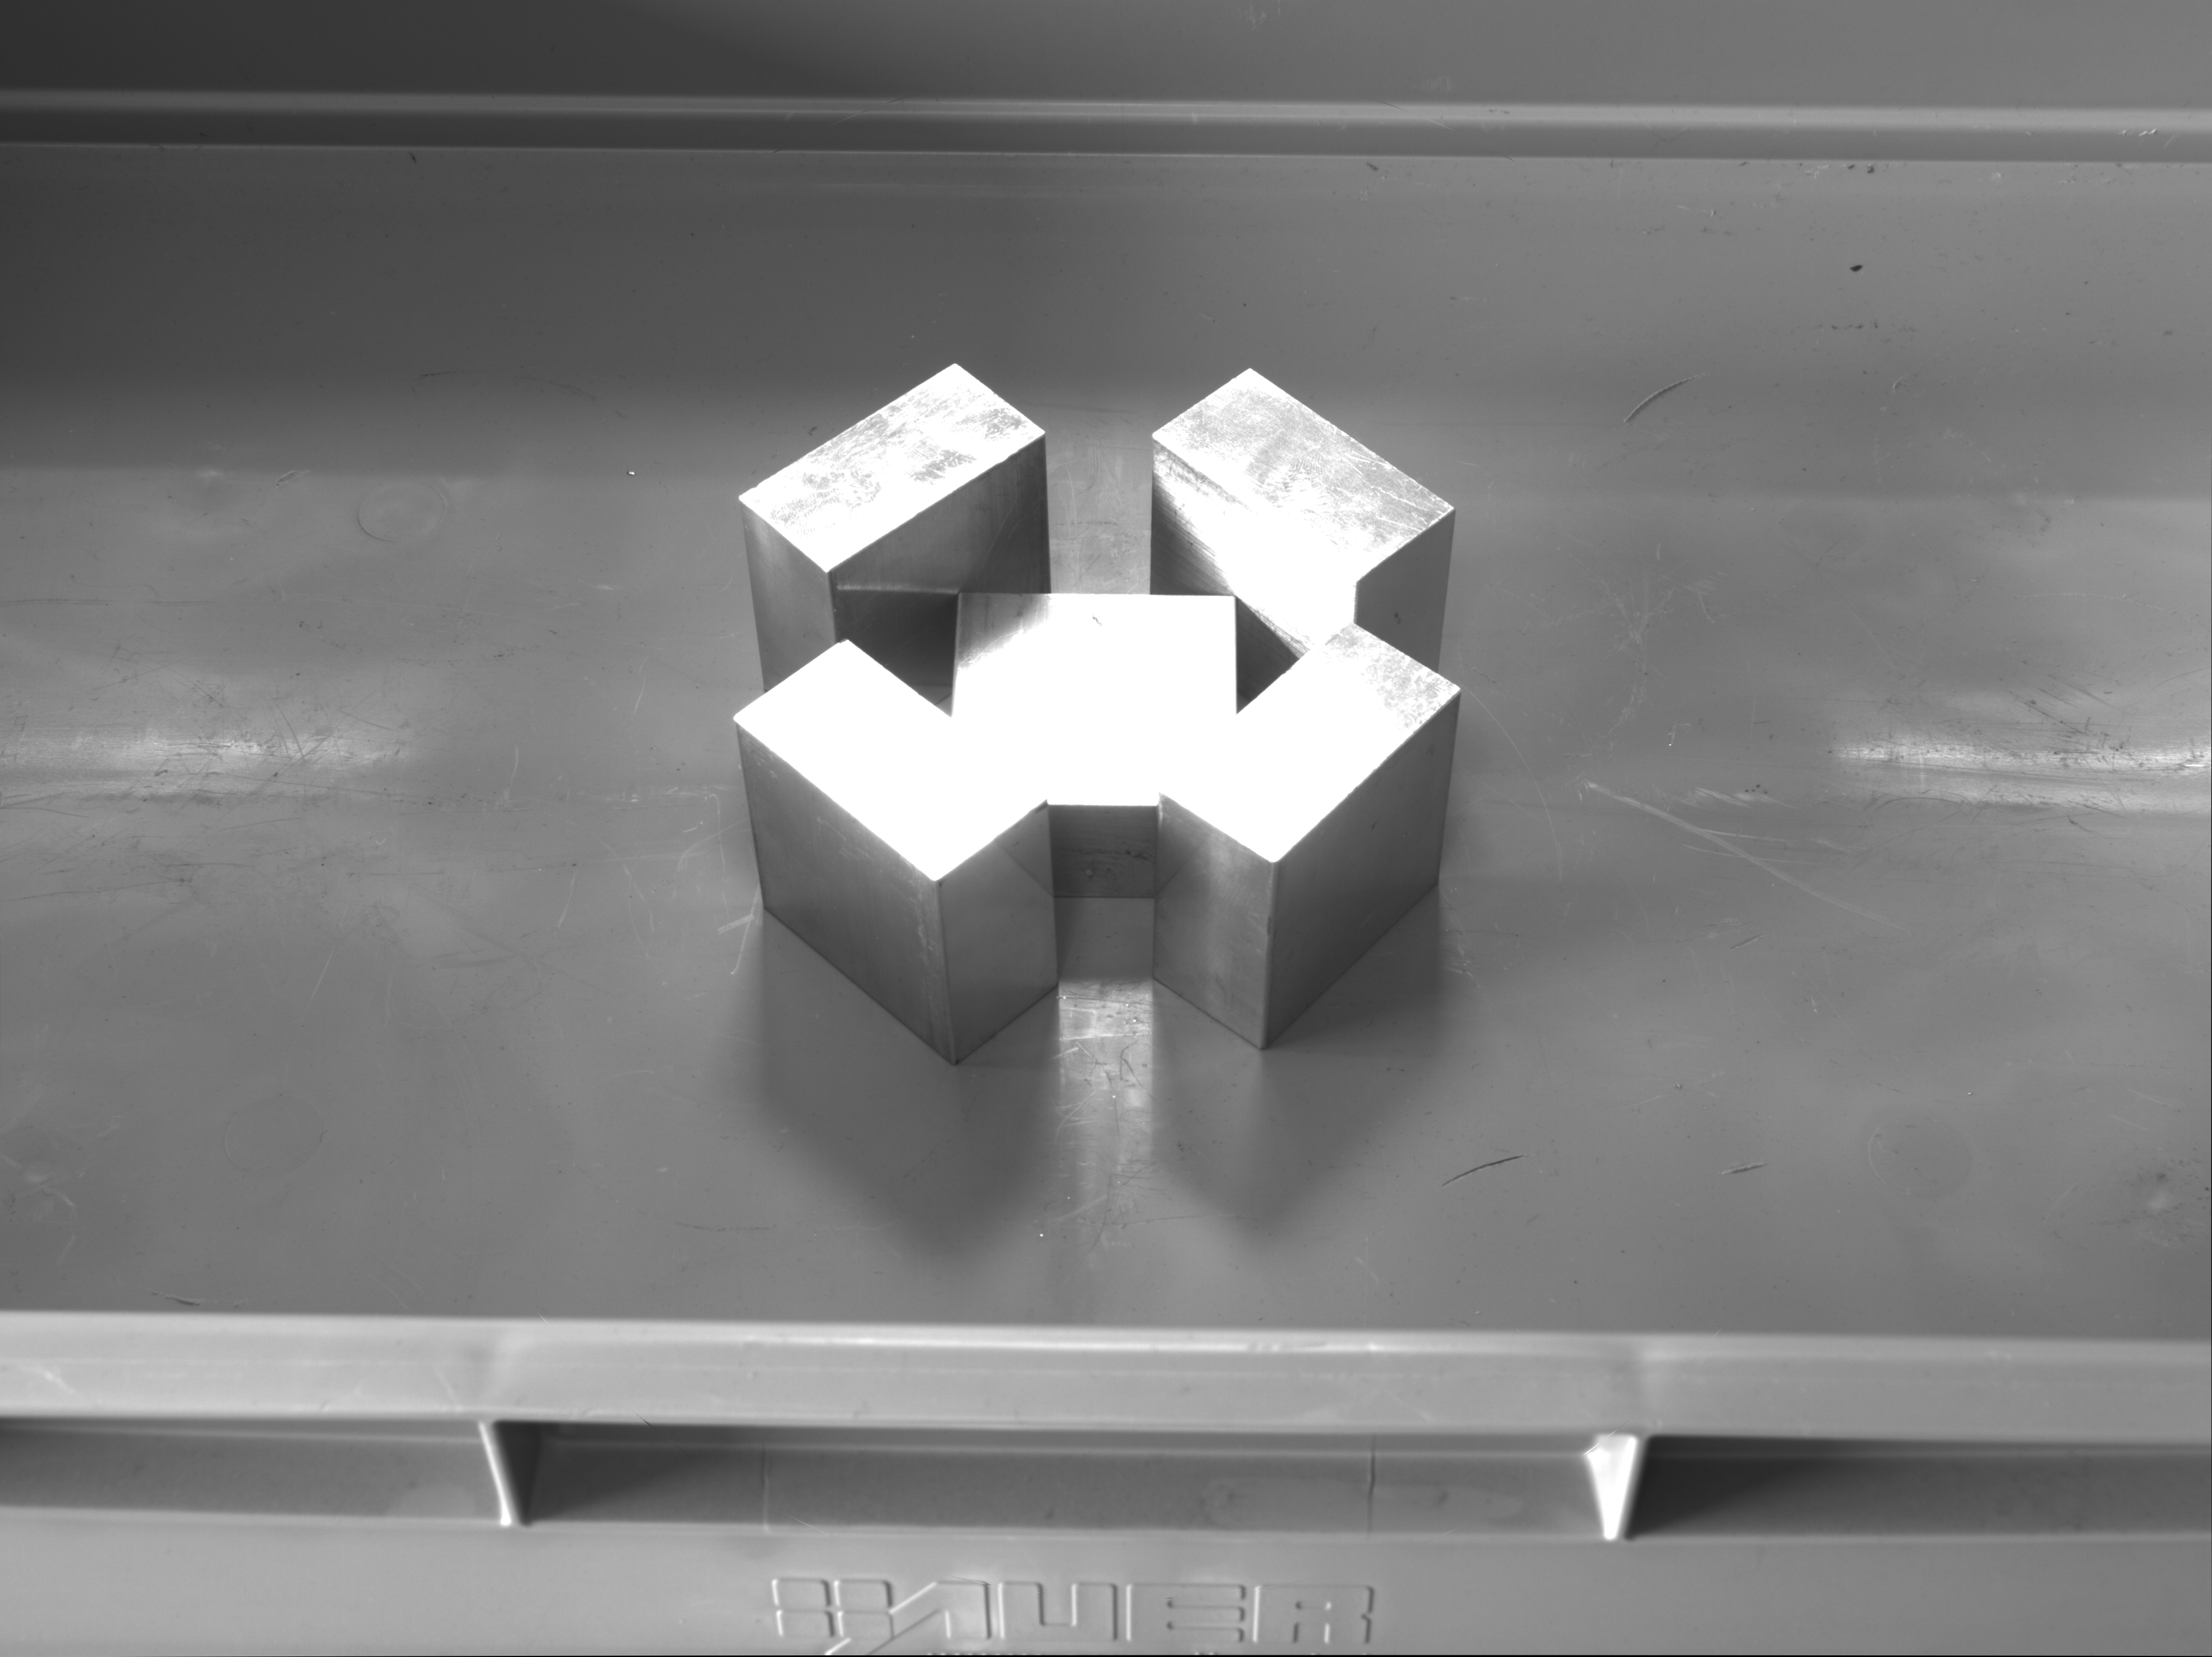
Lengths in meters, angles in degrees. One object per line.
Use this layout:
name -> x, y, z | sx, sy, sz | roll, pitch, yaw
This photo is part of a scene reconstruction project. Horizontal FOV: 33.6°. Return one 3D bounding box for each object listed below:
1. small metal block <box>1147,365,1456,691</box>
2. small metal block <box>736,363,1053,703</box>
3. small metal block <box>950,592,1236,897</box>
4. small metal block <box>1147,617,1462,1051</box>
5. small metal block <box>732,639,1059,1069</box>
small metal block -> 0.034, -0.047, 0.663 | 0.025, 0.050, 0.050 | -37, 60, -27
small metal block -> -0.037, -0.048, 0.664 | 0.050, 0.050, 0.025 | -35, 57, -25
small metal block -> -0.002, -0.015, 0.652 | 0.050, 0.025, 0.050 | 1, 50, 1
small metal block -> 0.033, 0.001, 0.622 | 0.025, 0.050, 0.050 | 33, 57, 24
small metal block -> -0.035, 0.004, 0.620 | 0.025, 0.050, 0.050 | -38, 59, -26
